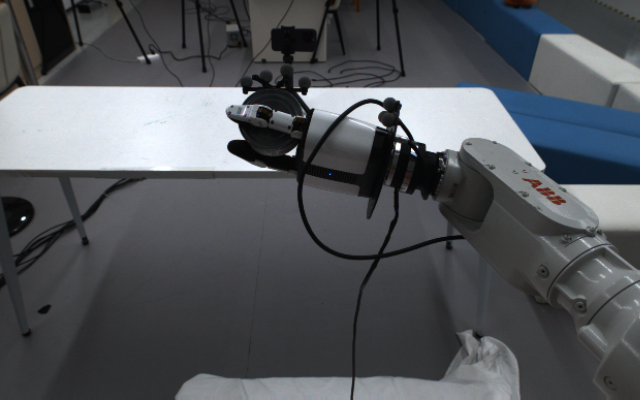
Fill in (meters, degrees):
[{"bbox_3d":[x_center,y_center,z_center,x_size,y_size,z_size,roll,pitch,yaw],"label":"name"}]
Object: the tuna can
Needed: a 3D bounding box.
[{"bbox_3d":[-0.063,-0.103,0.643,0.085,0.034,0.085,-1,76,4],"label":"tuna can"}]
